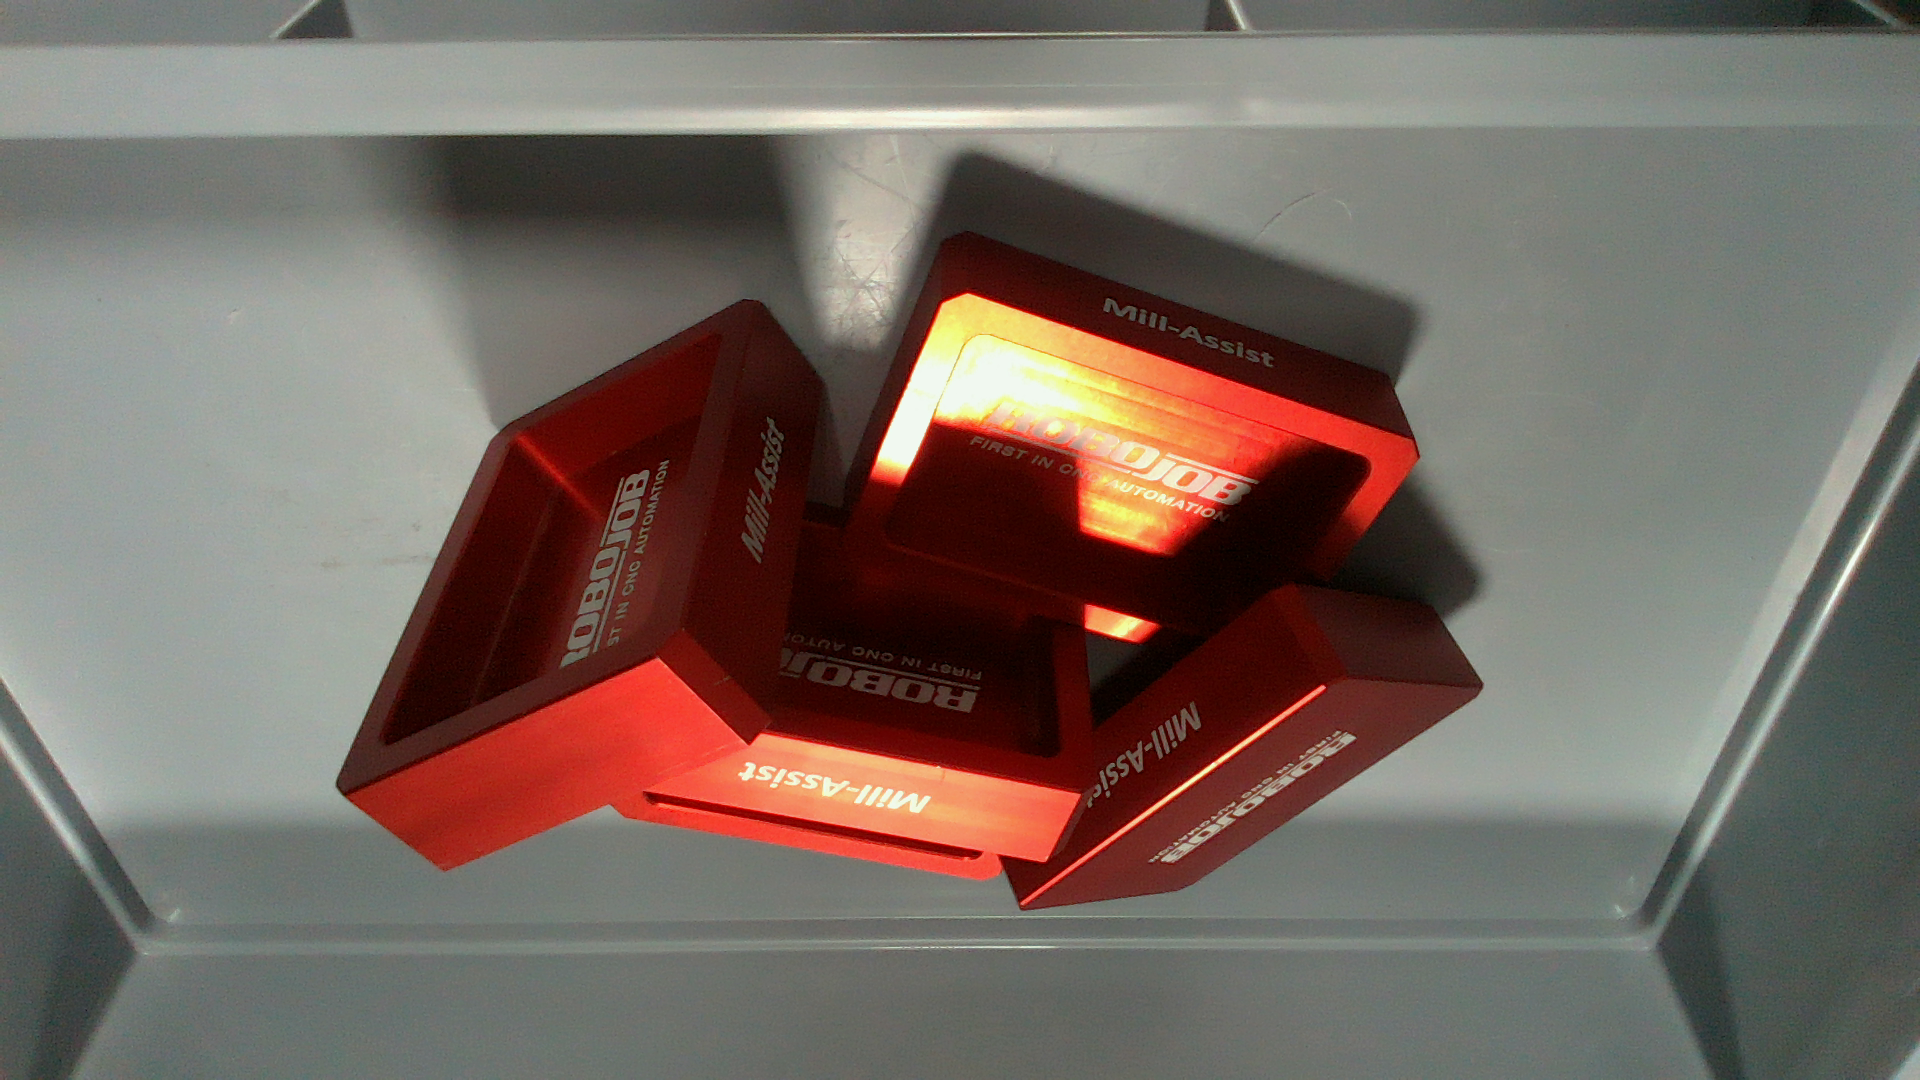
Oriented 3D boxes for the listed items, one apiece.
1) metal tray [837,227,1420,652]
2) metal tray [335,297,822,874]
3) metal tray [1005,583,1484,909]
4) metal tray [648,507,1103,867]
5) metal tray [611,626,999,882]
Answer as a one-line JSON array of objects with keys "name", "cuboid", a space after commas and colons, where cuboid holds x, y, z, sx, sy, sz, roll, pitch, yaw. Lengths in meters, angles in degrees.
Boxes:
[{"name": "metal tray", "cuboid": [0.042, -0.020, 0.369, 0.130, 0.030, 0.090, 16, 128, -13]}, {"name": "metal tray", "cuboid": [-0.083, 0.005, 0.323, 0.090, 0.130, 0.030, -24, 126, 19]}, {"name": "metal tray", "cuboid": [0.081, 0.066, 0.416, 0.090, 0.030, 0.130, 9, 137, -46]}, {"name": "metal tray", "cuboid": [-0.030, 0.033, 0.373, 0.130, 0.090, 0.030, 12, 129, -10]}, {"name": "metal tray", "cuboid": [-0.038, 0.060, 0.434, 0.130, 0.030, 0.090, 12, 129, -10]}]
